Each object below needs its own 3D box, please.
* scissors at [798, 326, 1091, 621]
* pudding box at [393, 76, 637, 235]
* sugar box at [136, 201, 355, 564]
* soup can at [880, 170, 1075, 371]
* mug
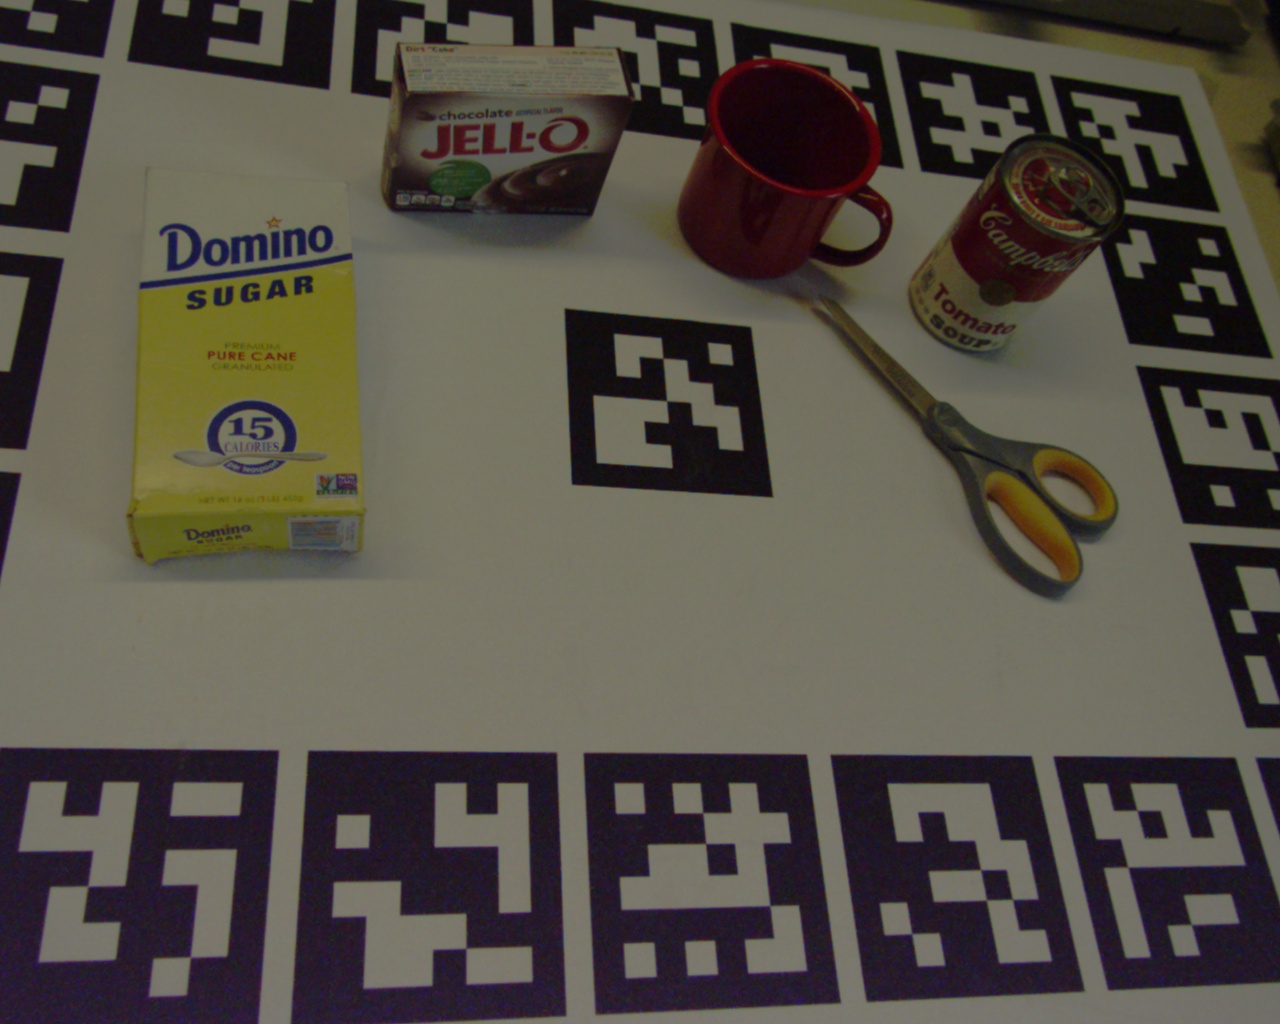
[{"bbox_3d":[0.162,-0.034,0.635,0.087,0.016,0.203,-41,83,-17],"label":"scissors"},{"bbox_3d":[-0.068,-0.186,0.599,0.113,0.090,0.039,-6,75,-18],"label":"pudding box"},{"bbox_3d":[-0.184,-0.064,0.545,0.092,0.045,0.177,-1,68,-13],"label":"sugar box"},{"bbox_3d":[0.188,-0.134,0.649,0.067,0.102,0.068,6,64,-12],"label":"soup can"},{"bbox_3d":[0.073,-0.176,0.641,0.092,0.082,0.118,-34,77,-23],"label":"mug"}]
